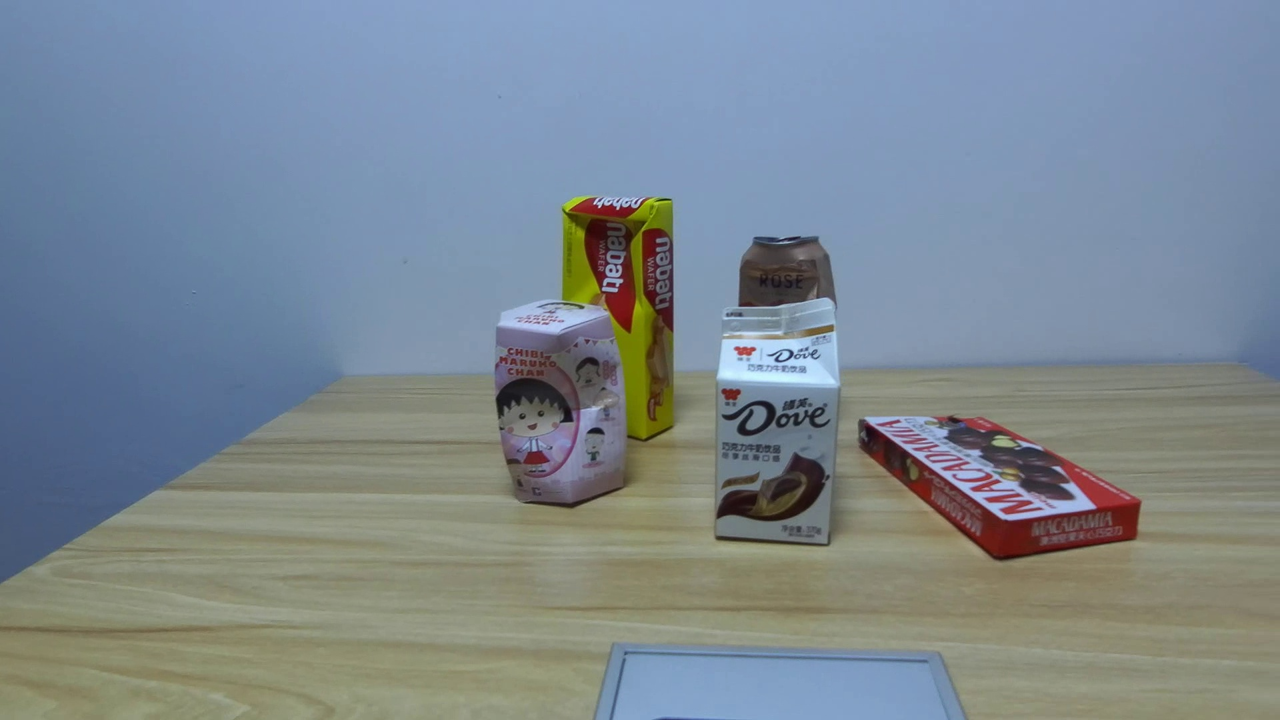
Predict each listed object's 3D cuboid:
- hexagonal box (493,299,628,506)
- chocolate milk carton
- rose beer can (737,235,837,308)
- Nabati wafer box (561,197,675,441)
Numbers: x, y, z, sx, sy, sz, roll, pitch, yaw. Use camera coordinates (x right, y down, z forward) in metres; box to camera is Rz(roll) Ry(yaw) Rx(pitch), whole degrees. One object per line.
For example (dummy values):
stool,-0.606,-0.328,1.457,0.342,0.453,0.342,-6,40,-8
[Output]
hexagonal box,-0.061,0.030,0.521,0.089,0.134,0.093,-7,18,-14
chocolate milk carton,0.087,0.034,0.452,0.075,0.148,0.074,2,17,10
rose beer can,0.121,-0.018,0.588,0.075,0.167,0.065,10,18,40
Nabati wafer box,-0.020,-0.037,0.612,0.096,0.203,0.042,11,19,37
